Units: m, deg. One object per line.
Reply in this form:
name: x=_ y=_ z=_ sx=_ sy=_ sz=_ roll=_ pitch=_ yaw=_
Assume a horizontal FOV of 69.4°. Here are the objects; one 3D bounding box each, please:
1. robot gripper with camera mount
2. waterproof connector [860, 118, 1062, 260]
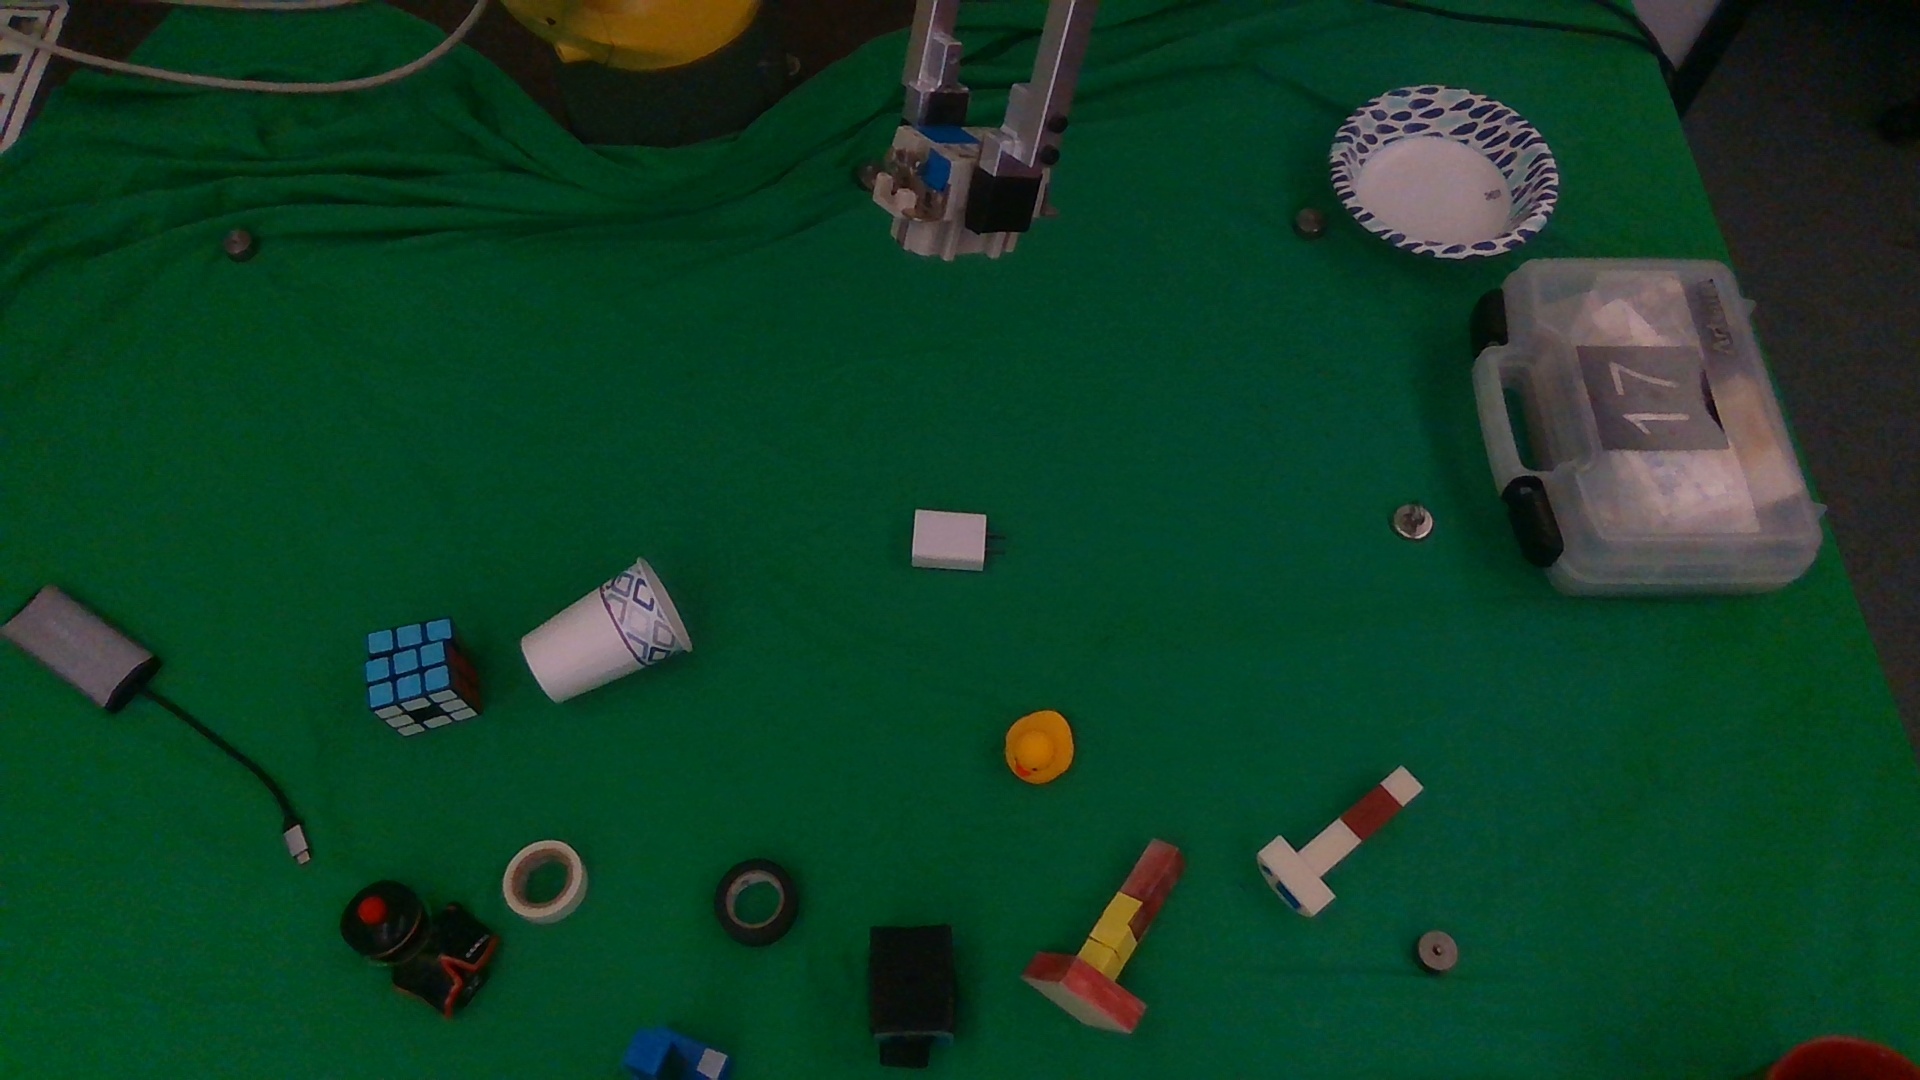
robot gripper with camera mount: x=-0.040 y=-0.162 z=0.360 sx=0.193 sy=0.159 sz=0.119 roll=-9 pitch=40 yaw=-38
waterproof connector: x=0.001 y=-0.114 z=0.452 sx=0.065 sy=0.037 sz=0.035 roll=-12 pitch=44 yaw=-40
